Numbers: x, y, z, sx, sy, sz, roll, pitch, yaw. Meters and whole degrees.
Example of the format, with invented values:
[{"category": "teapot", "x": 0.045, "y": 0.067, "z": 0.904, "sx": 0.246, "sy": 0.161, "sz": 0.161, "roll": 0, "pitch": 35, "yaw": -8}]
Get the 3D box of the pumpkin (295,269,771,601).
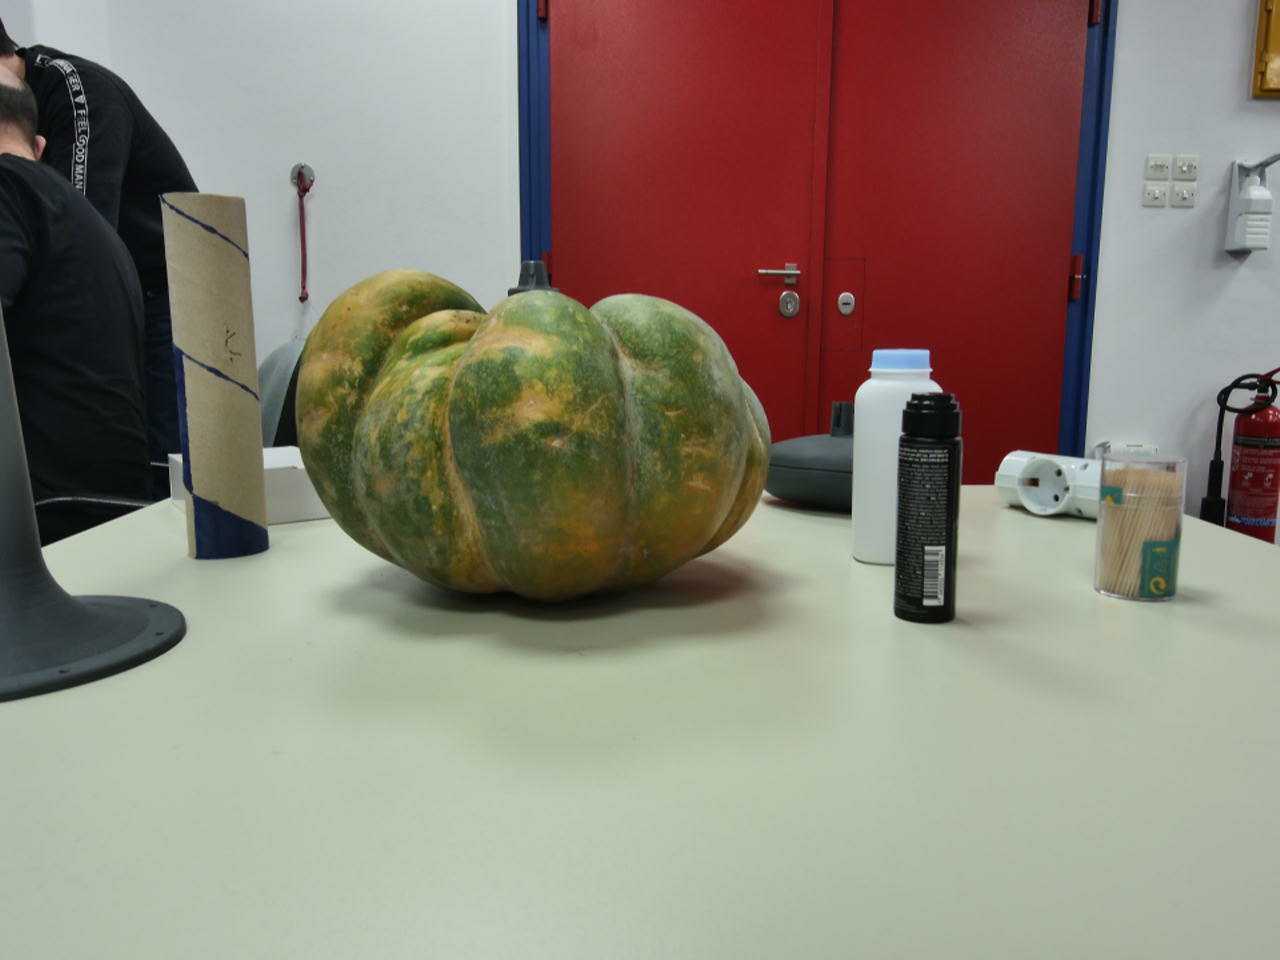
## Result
[{"category": "pumpkin", "x": -0.057, "y": -0.027, "z": 0.562, "sx": 0.270, "sy": 0.173, "sz": 0.237, "roll": 5, "pitch": 8, "yaw": 36}]
